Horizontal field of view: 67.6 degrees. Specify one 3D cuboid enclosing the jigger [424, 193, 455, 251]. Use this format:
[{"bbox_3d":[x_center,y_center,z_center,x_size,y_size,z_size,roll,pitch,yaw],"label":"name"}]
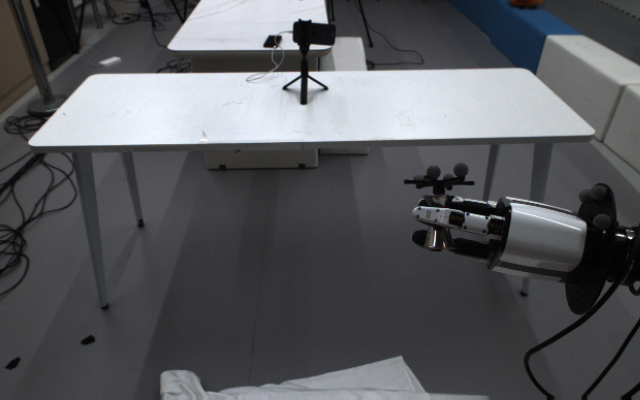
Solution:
[{"bbox_3d":[0.152,0.028,0.622,0.043,0.071,0.043,1,-6,0],"label":"jigger"}]
